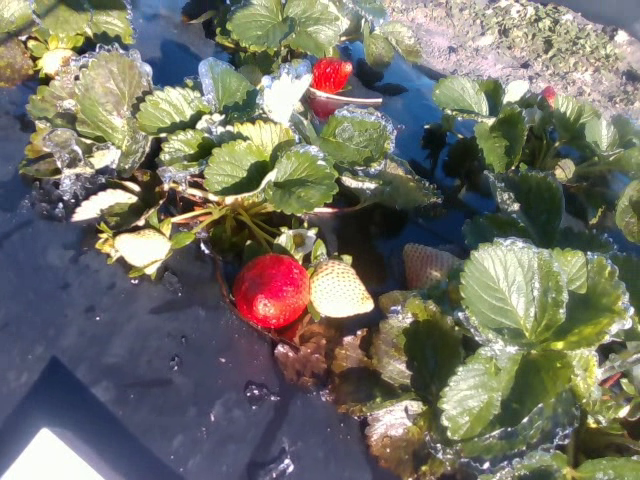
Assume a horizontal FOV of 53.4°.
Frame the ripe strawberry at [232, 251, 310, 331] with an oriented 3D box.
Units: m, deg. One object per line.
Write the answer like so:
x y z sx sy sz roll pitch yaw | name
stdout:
-0.024 0.026 0.288 0.040 0.042 0.053 -3 8 5 | ripe strawberry
